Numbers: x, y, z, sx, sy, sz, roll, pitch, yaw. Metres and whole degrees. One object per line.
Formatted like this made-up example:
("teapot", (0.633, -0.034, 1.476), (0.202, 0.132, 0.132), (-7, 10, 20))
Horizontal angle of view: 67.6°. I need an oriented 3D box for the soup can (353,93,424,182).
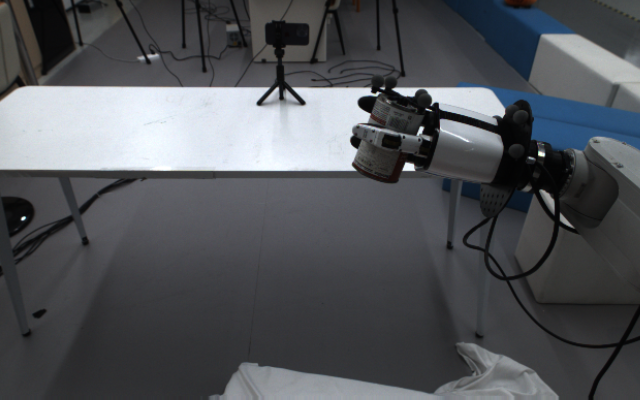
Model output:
("soup can", (0.091, -0.082, 0.646), (0.067, 0.101, 0.067), (17, 21, -7))
